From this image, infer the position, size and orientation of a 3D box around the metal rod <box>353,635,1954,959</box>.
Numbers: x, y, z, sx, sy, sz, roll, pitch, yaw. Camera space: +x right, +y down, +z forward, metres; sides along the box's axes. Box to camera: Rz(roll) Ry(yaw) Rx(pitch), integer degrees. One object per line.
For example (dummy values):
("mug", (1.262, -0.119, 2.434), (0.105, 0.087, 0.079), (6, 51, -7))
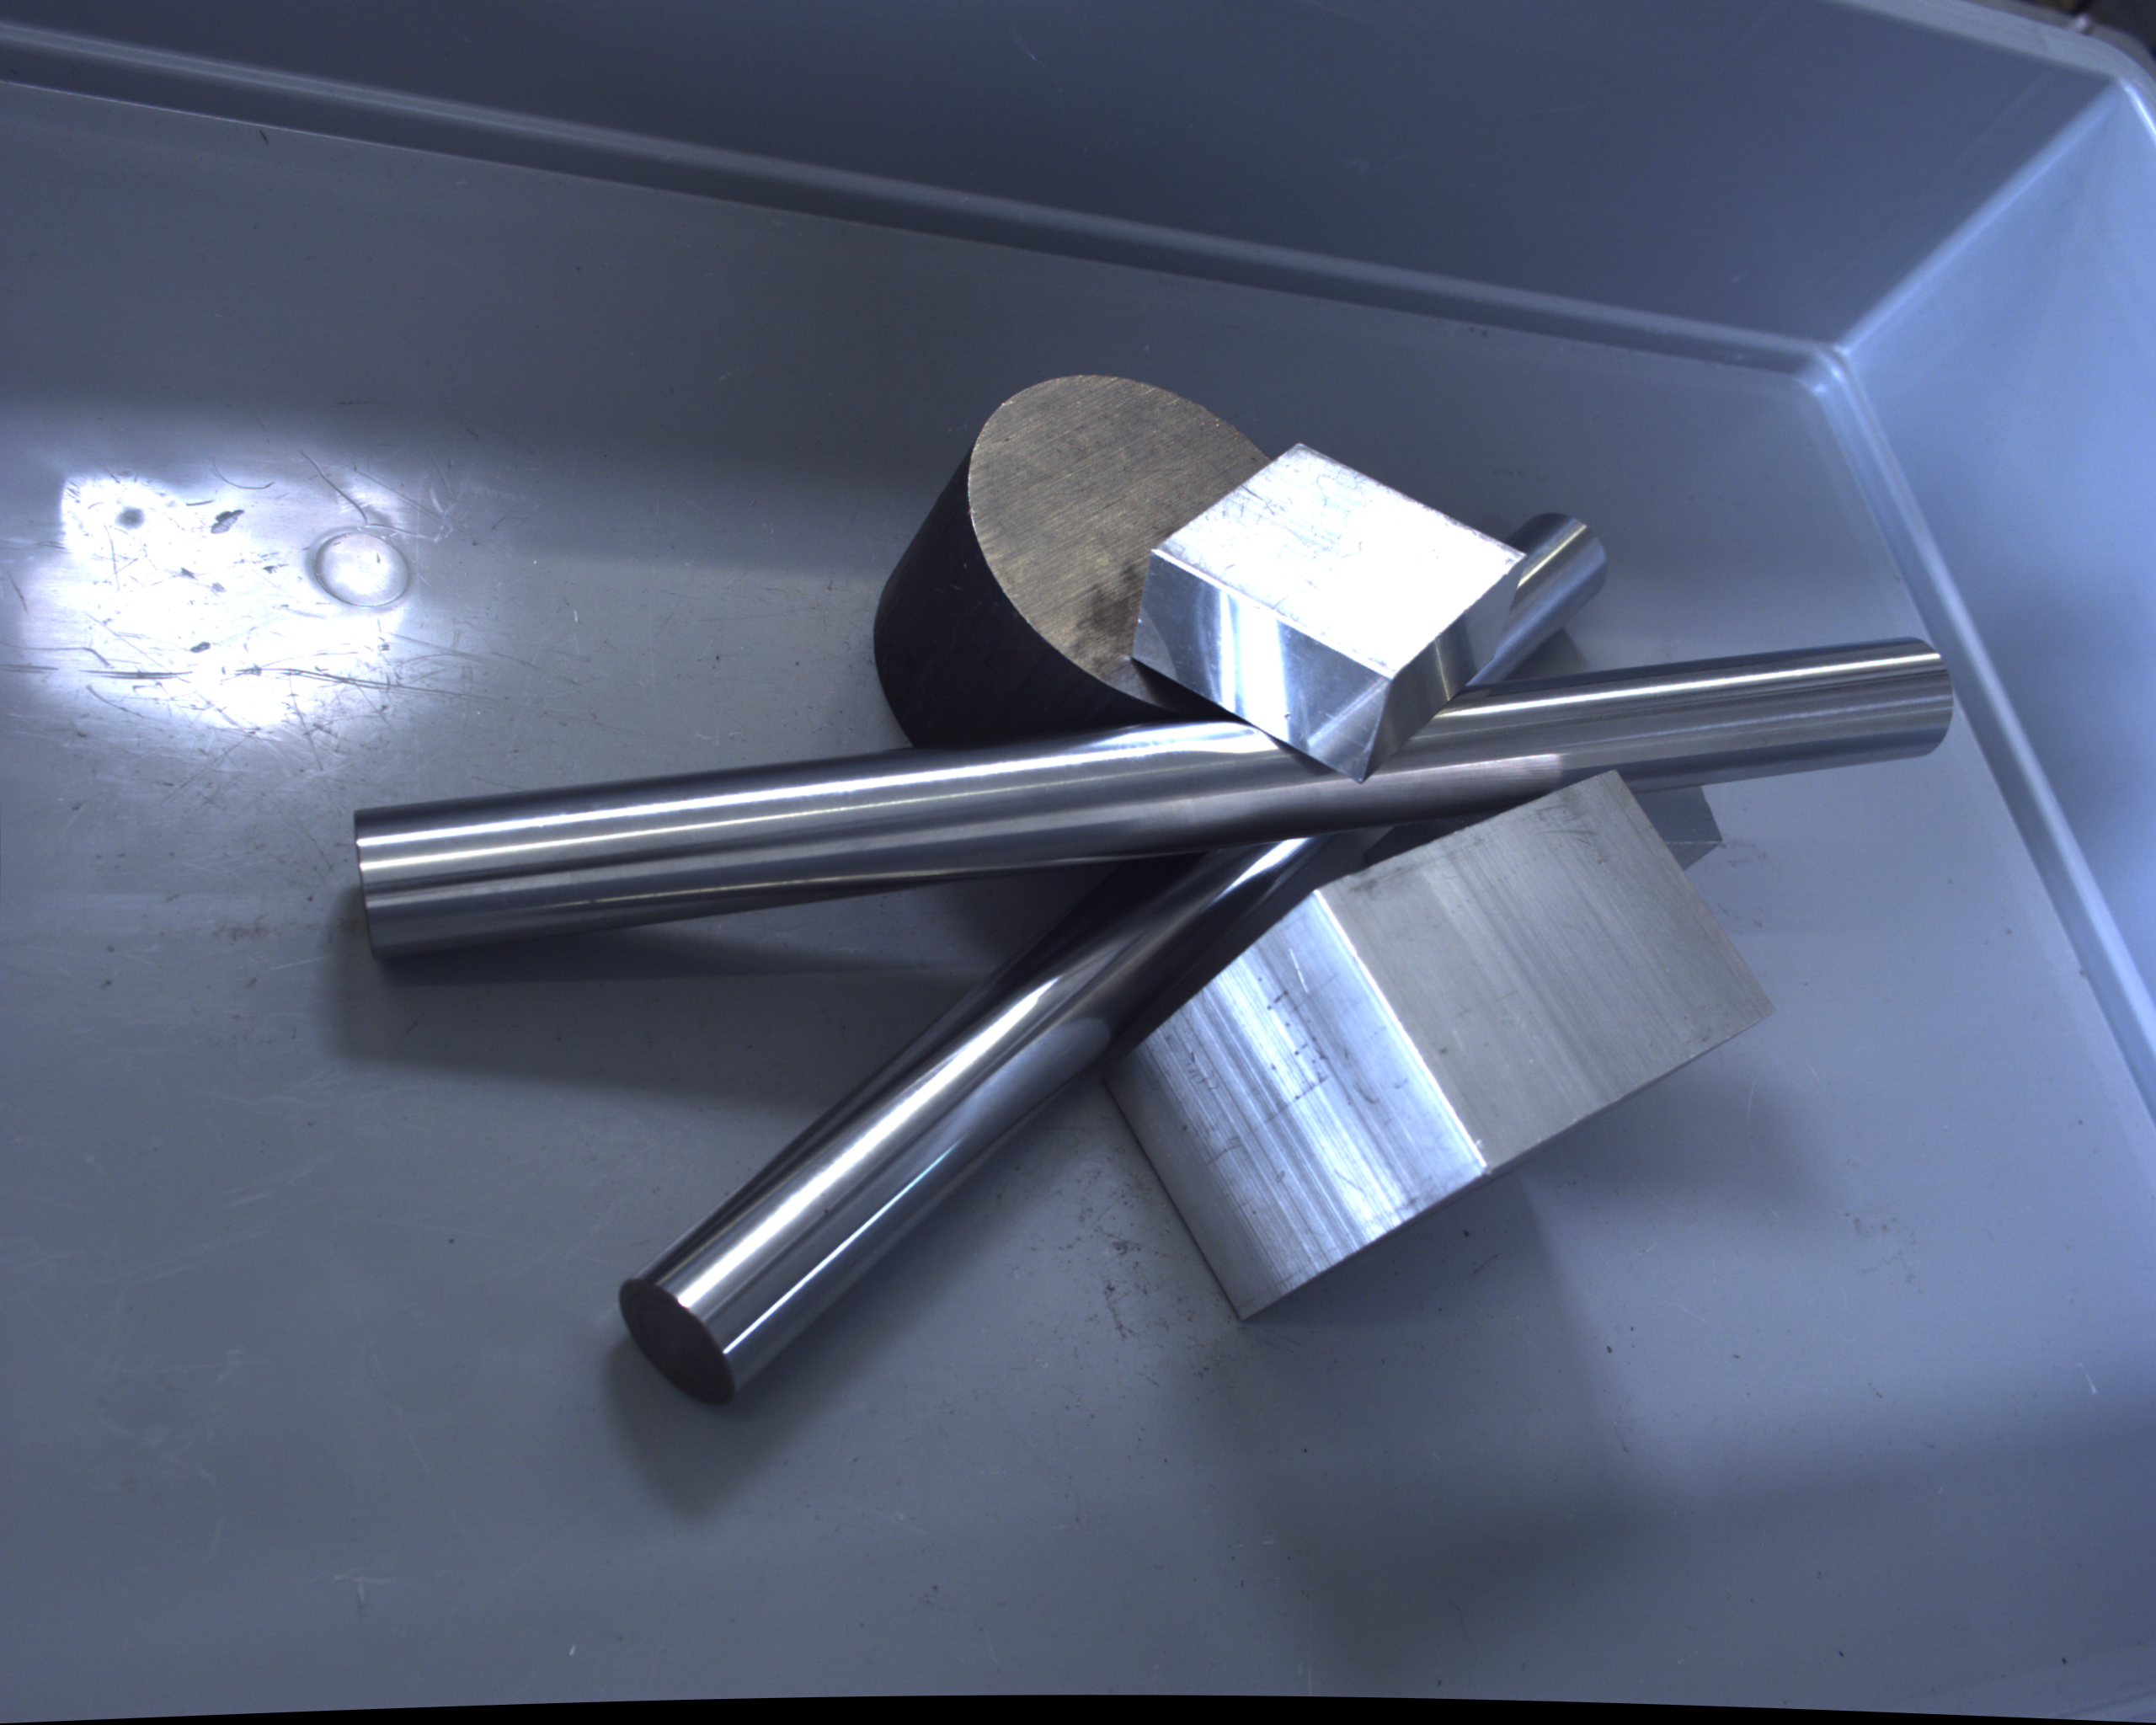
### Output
("metal rod", (0.027, -0.015, 0.383), (0.302, 0.025, 0.025), (-7, 65, -17))

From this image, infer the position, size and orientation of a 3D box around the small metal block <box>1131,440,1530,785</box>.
("small metal block", (0.046, -0.047, 0.383), (0.050, 0.025, 0.050), (31, 48, 21))

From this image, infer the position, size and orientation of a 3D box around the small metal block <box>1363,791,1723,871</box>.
("small metal block", (0.098, -0.003, 0.442), (0.050, 0.050, 0.025), (-1, 62, -27))

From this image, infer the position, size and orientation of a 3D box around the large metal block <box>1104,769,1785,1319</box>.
("large metal block", (0.065, 0.033, 0.382), (0.081, 0.080, 0.050), (-20, 73, -36))

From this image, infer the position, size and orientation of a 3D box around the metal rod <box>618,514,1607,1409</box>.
("metal rod", (0.028, 0.000, 0.419), (0.025, 0.025, 0.302), (47, 51, 4))

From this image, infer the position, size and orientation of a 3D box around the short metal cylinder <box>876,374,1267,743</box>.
("short metal cylinder", (0.006, -0.051, 0.422), (0.081, 0.050, 0.080), (14, 55, -21))
